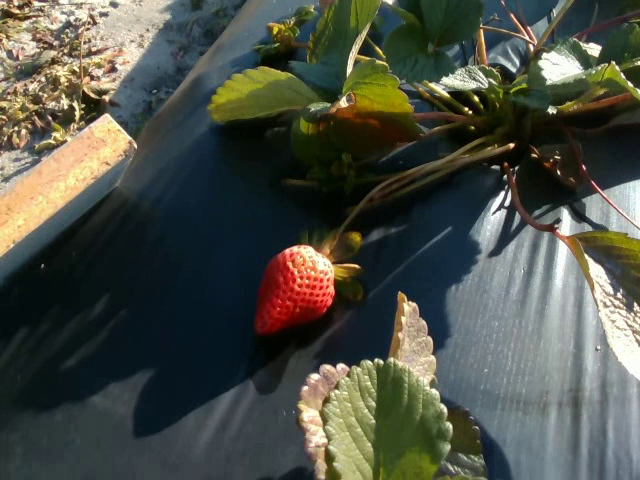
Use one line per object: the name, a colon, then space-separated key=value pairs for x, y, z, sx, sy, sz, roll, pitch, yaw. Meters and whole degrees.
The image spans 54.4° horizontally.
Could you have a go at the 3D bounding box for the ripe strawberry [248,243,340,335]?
ripe strawberry: x=-0.015 y=0.026 z=0.288 sx=0.044 sy=0.044 sz=0.064 roll=-27 pitch=21 yaw=49
